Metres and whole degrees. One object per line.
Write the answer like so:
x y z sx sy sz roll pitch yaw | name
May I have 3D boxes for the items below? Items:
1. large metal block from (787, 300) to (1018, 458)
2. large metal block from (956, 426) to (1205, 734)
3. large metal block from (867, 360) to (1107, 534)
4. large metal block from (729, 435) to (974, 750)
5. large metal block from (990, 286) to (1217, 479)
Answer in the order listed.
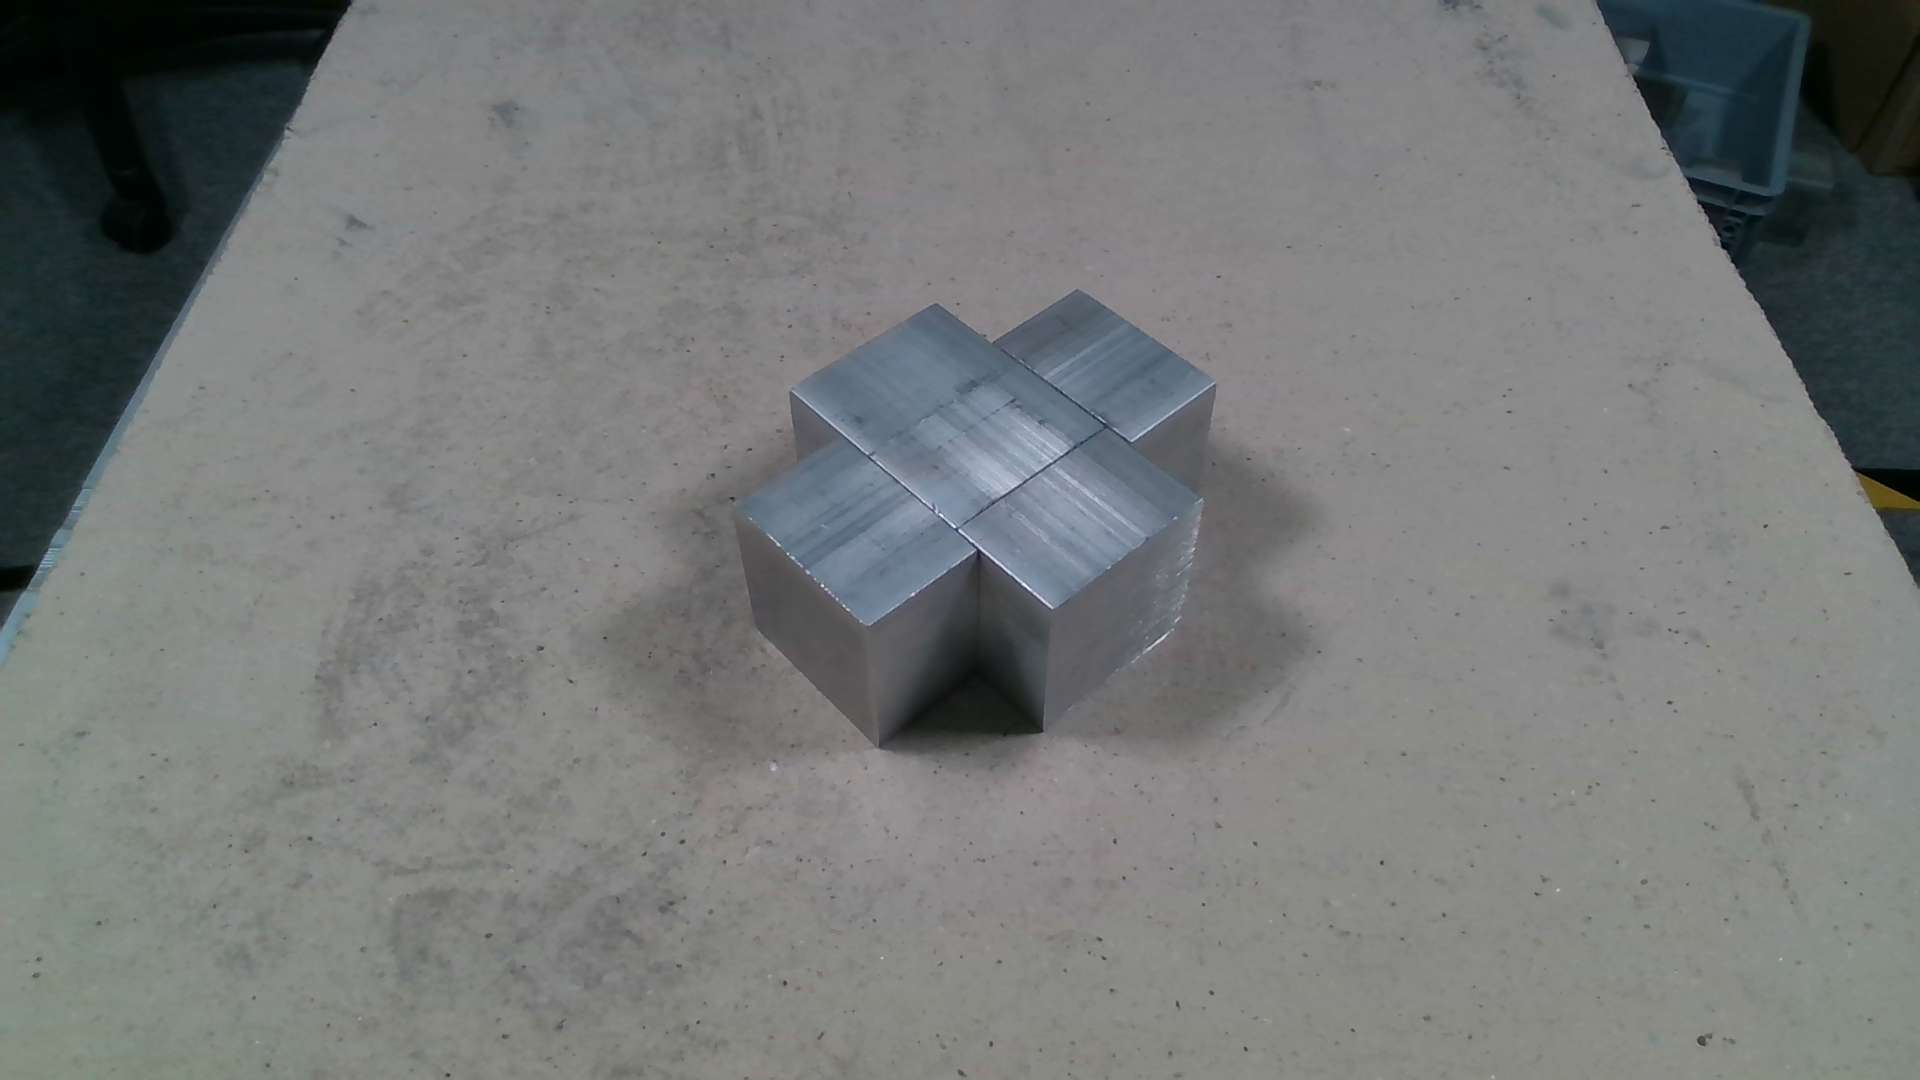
-0.023 -0.041 0.587 0.080 0.080 0.050 -35 58 -26 | large metal block
0.045 0.016 0.539 0.080 0.080 0.050 -35 58 -26 | large metal block
0.011 -0.013 0.563 0.080 0.080 0.050 -35 58 -26 | large metal block
-0.040 0.020 0.535 0.050 0.080 0.080 -35 58 -26 | large metal block
0.058 -0.048 0.592 0.050 0.080 0.080 -35 58 -26 | large metal block
